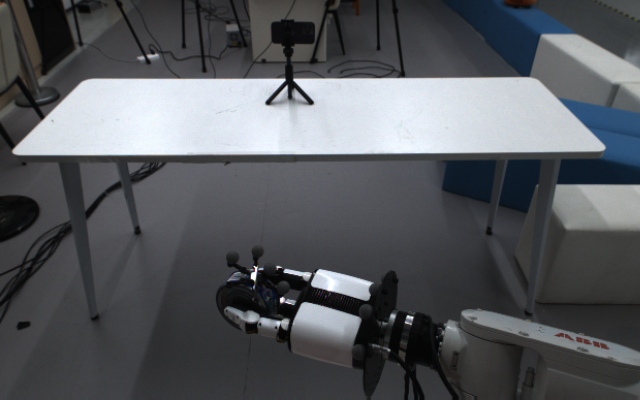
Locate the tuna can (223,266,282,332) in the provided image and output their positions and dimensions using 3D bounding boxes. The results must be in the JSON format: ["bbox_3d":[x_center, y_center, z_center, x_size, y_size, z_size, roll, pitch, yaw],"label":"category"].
[{"bbox_3d":[-0.099,0.141,0.671,0.085,0.085,0.034,15,31,18],"label":"tuna can"}]
